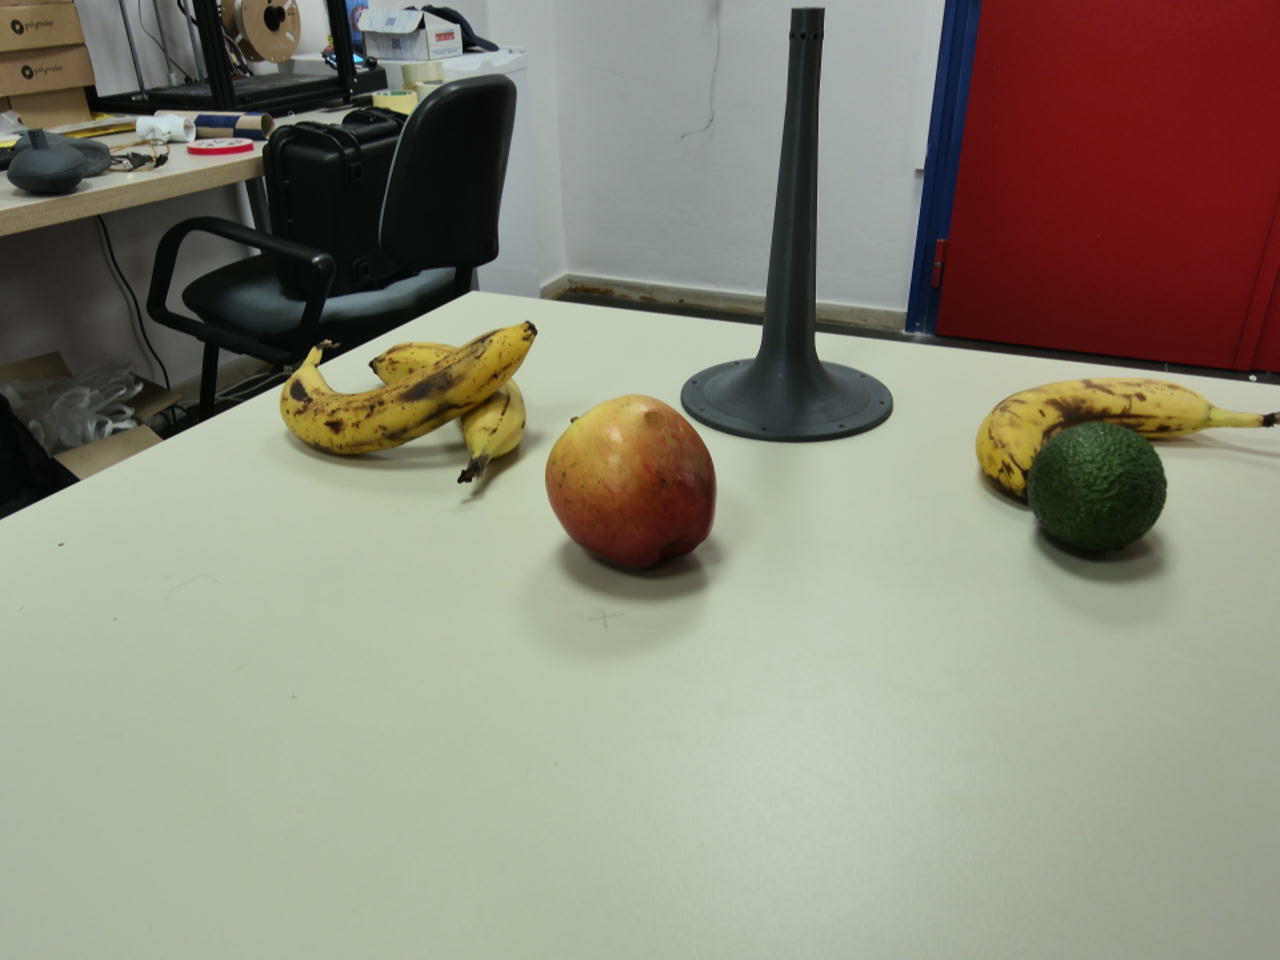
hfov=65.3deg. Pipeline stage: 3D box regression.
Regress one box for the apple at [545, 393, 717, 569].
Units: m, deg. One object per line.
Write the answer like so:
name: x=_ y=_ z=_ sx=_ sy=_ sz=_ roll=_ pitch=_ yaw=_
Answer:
apple: x=-0.005 y=0.000 z=0.514 sx=0.086 sy=0.084 sz=0.093 roll=-5 pitch=25 yaw=-10
